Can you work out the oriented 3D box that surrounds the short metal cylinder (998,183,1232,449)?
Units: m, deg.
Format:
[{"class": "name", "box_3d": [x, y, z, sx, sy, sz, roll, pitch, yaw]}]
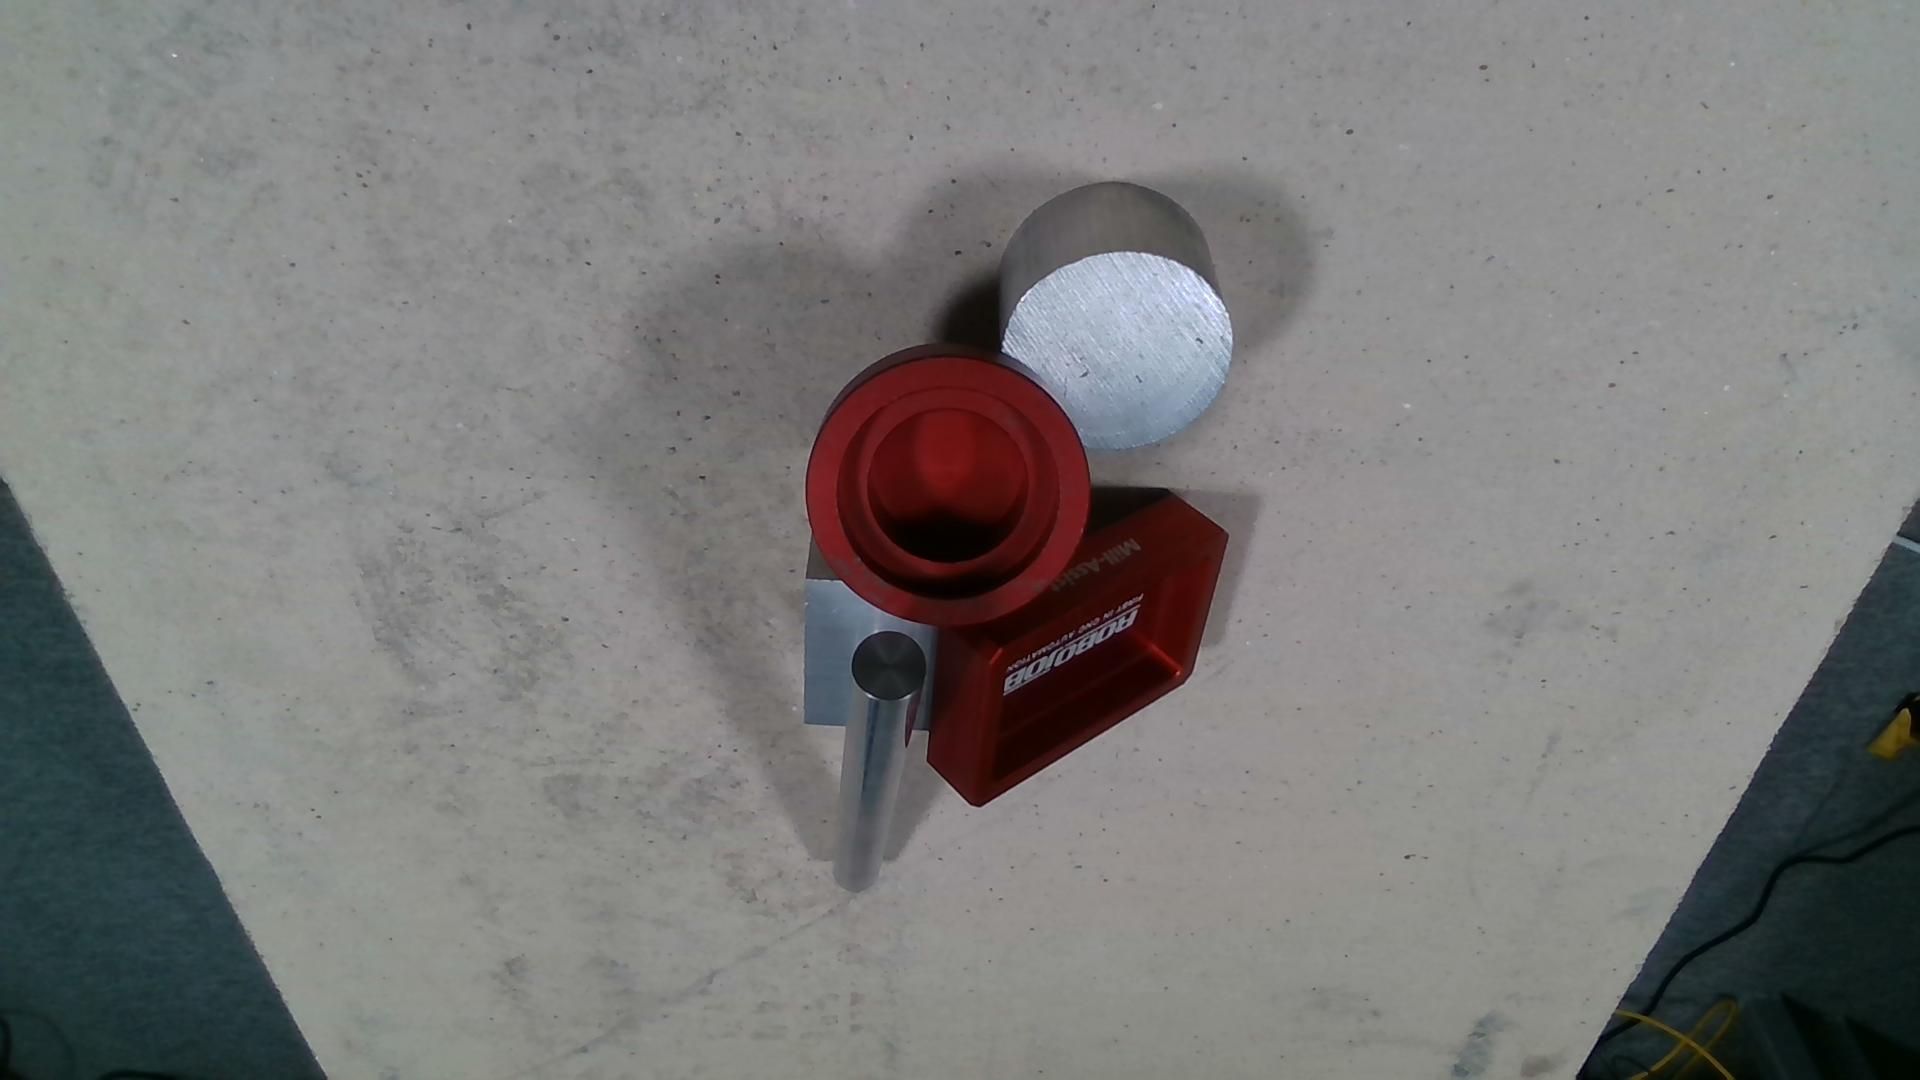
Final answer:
[{"class": "short metal cylinder", "box_3d": [0.054, -0.080, 0.496, 0.080, 0.050, 0.080, 0, 130, 0]}]

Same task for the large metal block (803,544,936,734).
[{"class": "large metal block", "box_3d": [-0.035, 0.021, 0.561, 0.050, 0.080, 0.080, 3, 130, -3]}]

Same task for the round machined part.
[{"class": "round machined part", "box_3d": [-0.004, -0.023, 0.491, 0.098, 0.042, 0.098, 0, 110, -1]}]

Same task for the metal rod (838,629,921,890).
[{"class": "metal rod", "box_3d": [-0.040, 0.107, 0.593, 0.025, 0.025, 0.301, 5, 154, -4]}]

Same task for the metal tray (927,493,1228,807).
[{"class": "metal tray", "box_3d": [0.048, 0.044, 0.563, 0.130, 0.030, 0.090, -25, 139, -32]}]
